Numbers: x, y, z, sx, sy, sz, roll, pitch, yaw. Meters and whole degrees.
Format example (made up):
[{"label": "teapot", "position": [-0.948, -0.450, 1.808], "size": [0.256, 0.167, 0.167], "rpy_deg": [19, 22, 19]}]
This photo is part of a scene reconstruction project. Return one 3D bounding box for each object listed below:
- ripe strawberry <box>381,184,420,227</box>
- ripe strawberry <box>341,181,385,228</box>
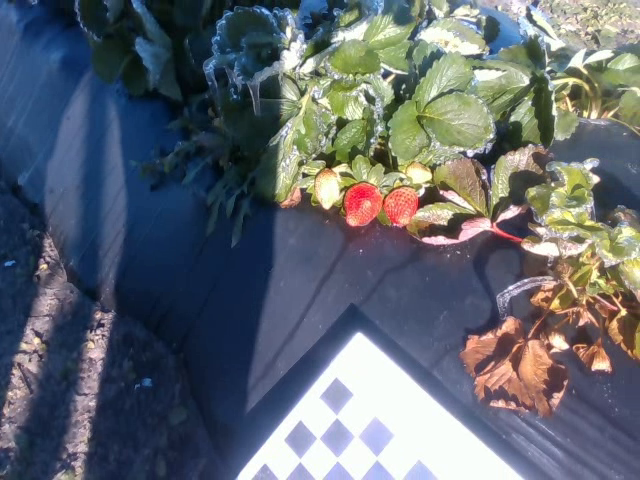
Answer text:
[{"label": "ripe strawberry", "position": [0.076, -0.029, 0.554], "size": [0.036, 0.041, 0.030], "rpy_deg": [-26, -33, 14]}, {"label": "ripe strawberry", "position": [0.036, -0.026, 0.551], "size": [0.036, 0.040, 0.052], "rpy_deg": [-2, 33, 23]}]
